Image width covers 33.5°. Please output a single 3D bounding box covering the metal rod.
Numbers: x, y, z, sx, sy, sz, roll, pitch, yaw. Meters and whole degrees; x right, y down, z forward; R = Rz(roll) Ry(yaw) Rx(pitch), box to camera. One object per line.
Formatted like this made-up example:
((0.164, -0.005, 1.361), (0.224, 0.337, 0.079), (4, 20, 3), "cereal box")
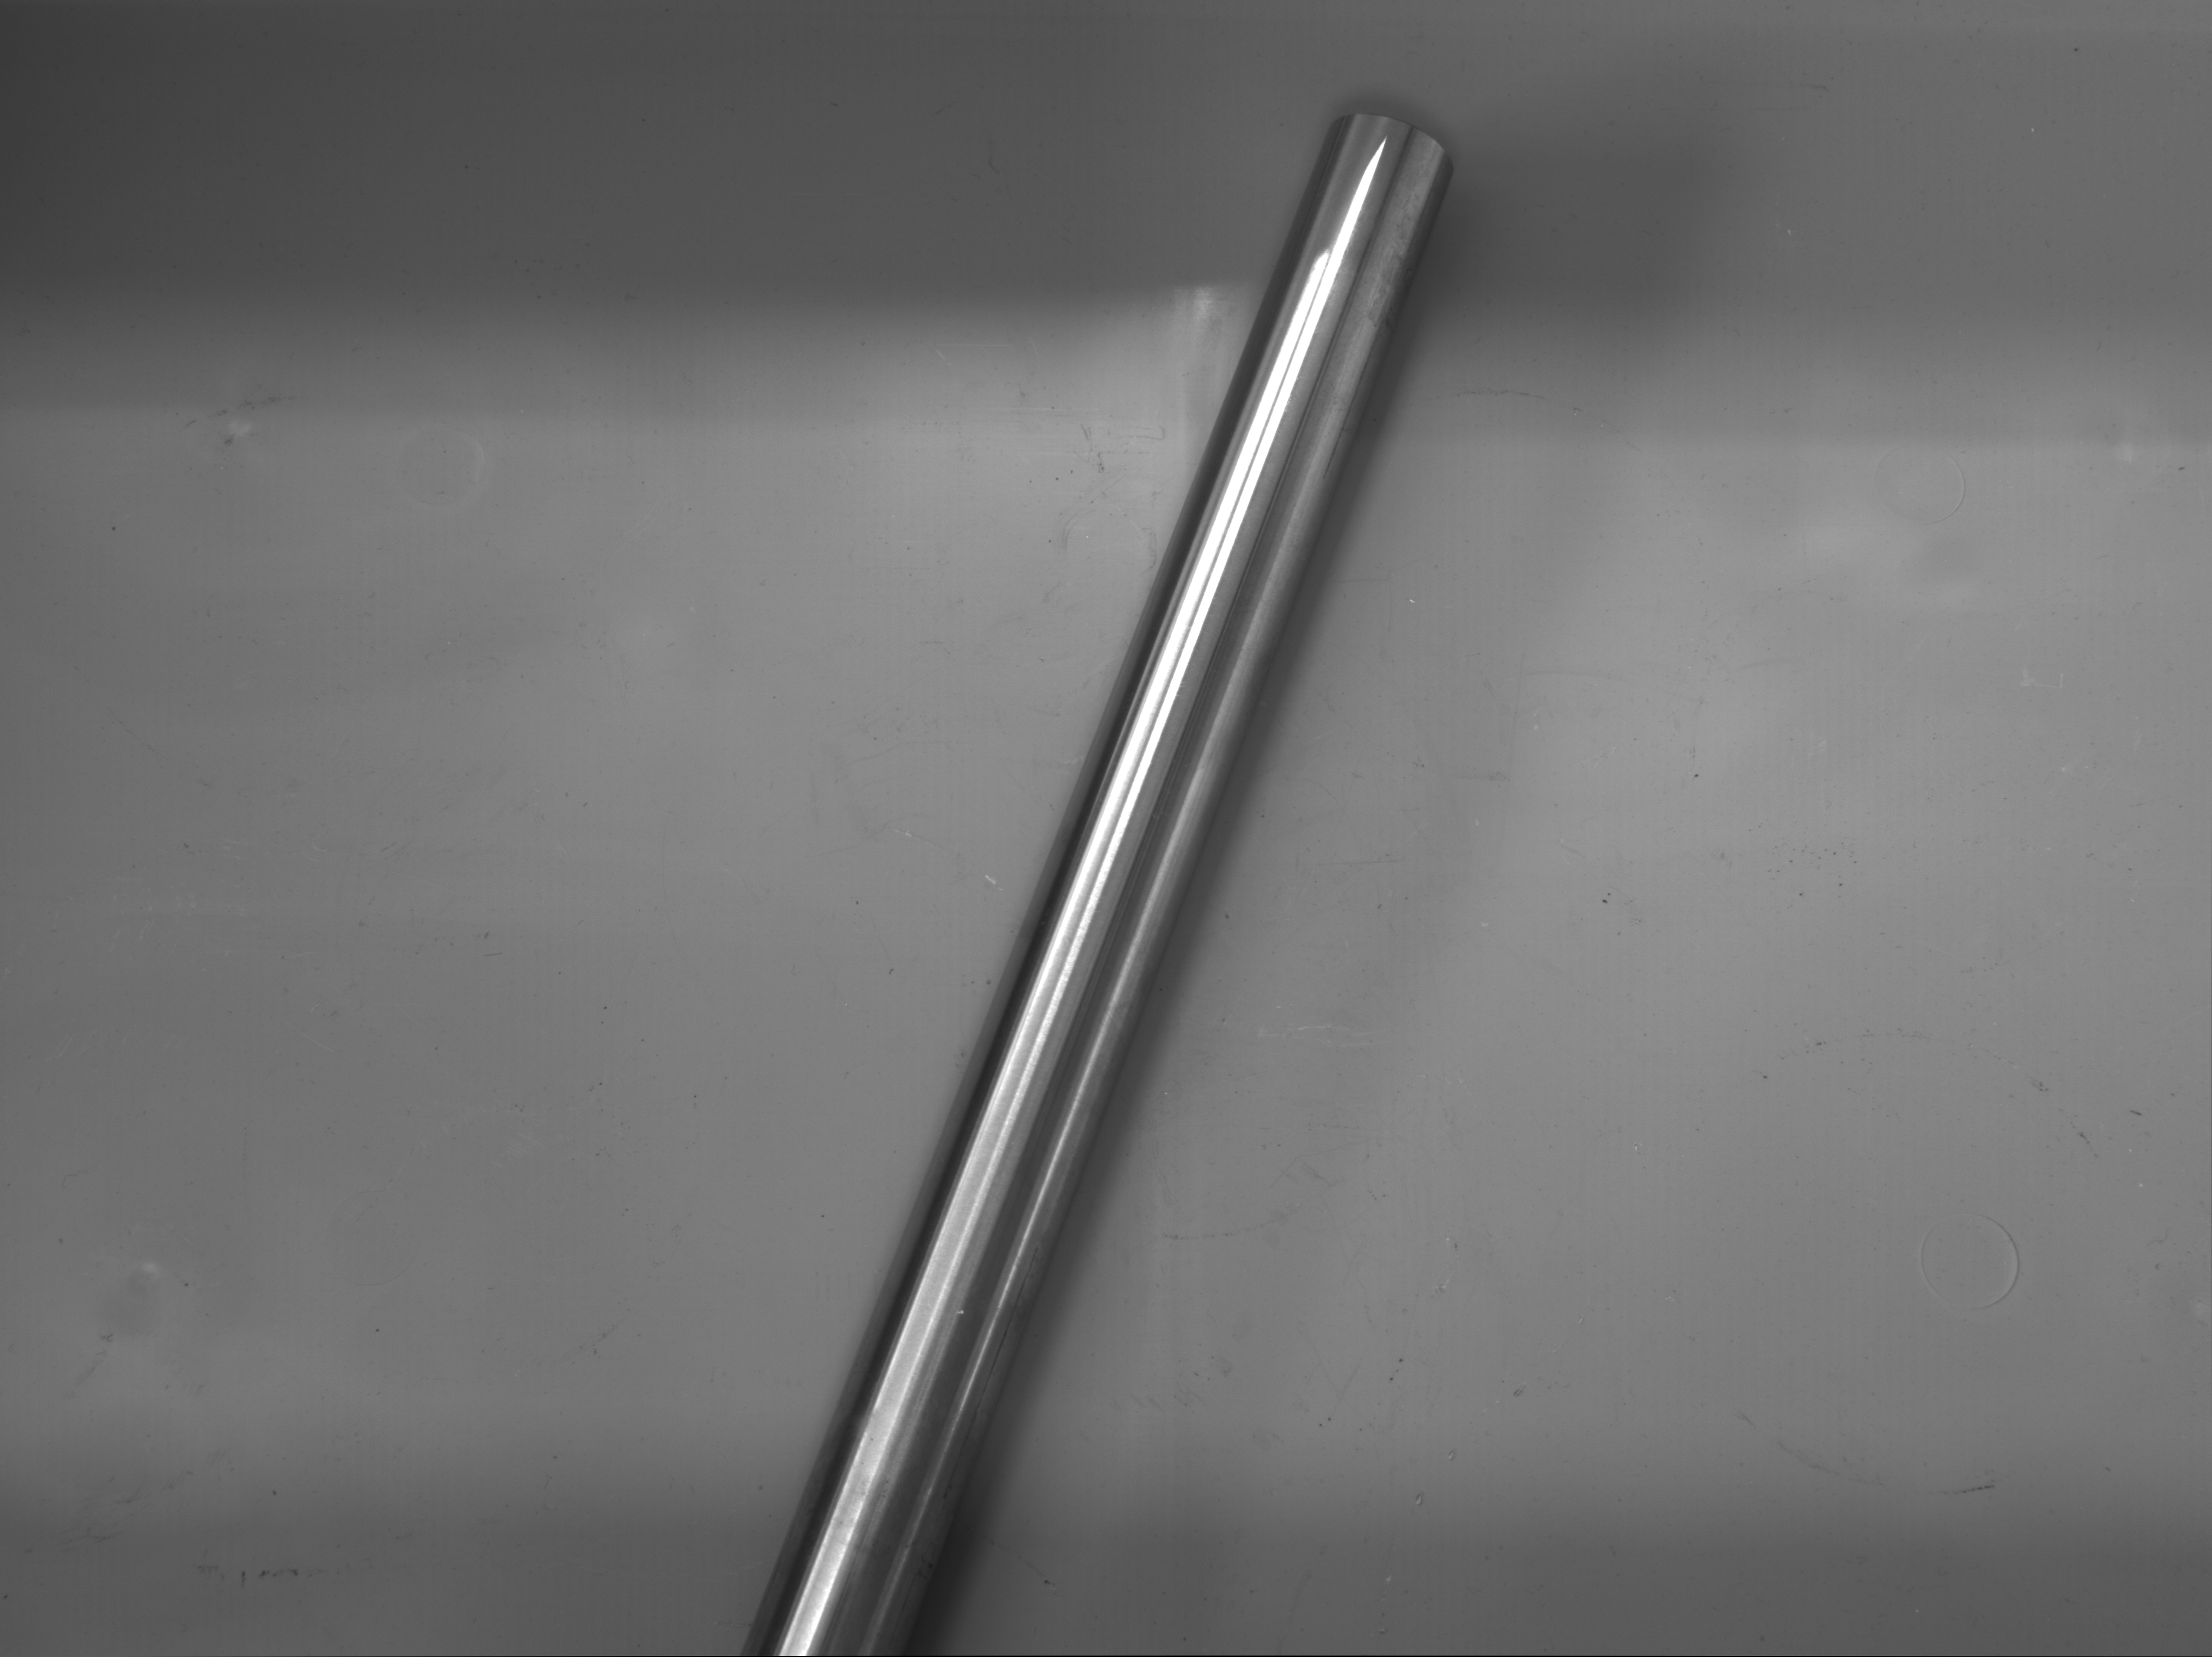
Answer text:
((0.002, 0.006, 0.641), (0.025, 0.025, 0.300), (19, 71, 7), "metal rod")
